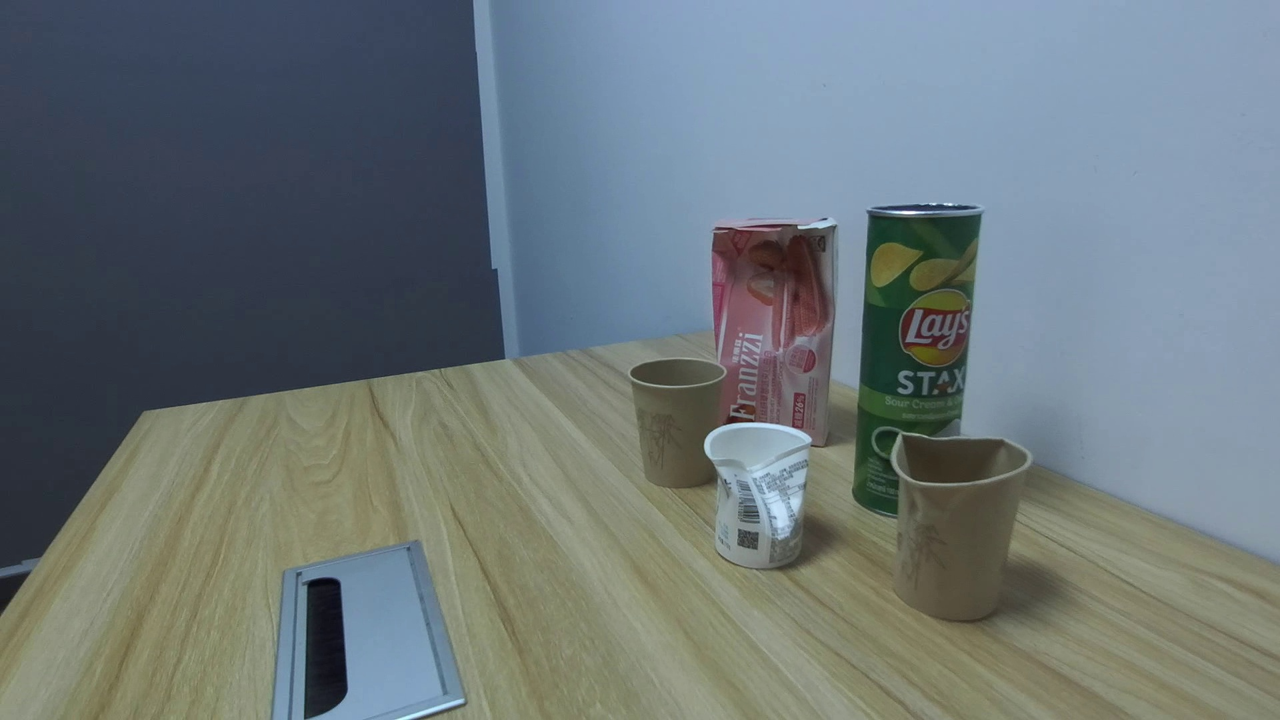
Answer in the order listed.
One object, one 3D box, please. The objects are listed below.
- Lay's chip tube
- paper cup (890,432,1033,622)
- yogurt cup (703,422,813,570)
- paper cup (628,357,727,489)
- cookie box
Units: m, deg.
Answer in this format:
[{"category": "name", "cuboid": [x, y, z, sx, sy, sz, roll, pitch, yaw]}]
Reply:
[{"category": "Lay's chip tube", "cuboid": [0.181, 0.000, 0.467, 0.071, 0.202, 0.071, -1, 16, 1]}, {"category": "paper cup", "cuboid": [0.167, 0.088, 0.374, 0.071, 0.084, 0.066, 1, 17, 10]}, {"category": "yogurt cup", "cuboid": [0.071, 0.082, 0.431, 0.067, 0.070, 0.067, -3, 17, 1]}, {"category": "paper cup", "cuboid": [0.030, 0.048, 0.531, 0.075, 0.082, 0.075, -1, 16, 1]}, {"category": "cookie box", "cuboid": [0.109, -0.024, 0.593, 0.118, 0.184, 0.055, 5, 18, 27]}]
